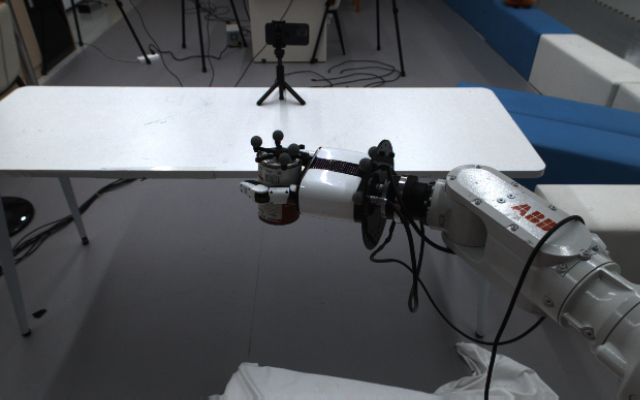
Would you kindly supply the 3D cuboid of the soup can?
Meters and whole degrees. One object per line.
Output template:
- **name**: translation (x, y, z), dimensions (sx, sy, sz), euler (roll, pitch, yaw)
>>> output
- **soup can**: translation (-0.062, -0.020, 0.743), dimensions (0.067, 0.101, 0.067), euler (3, 31, -2)
